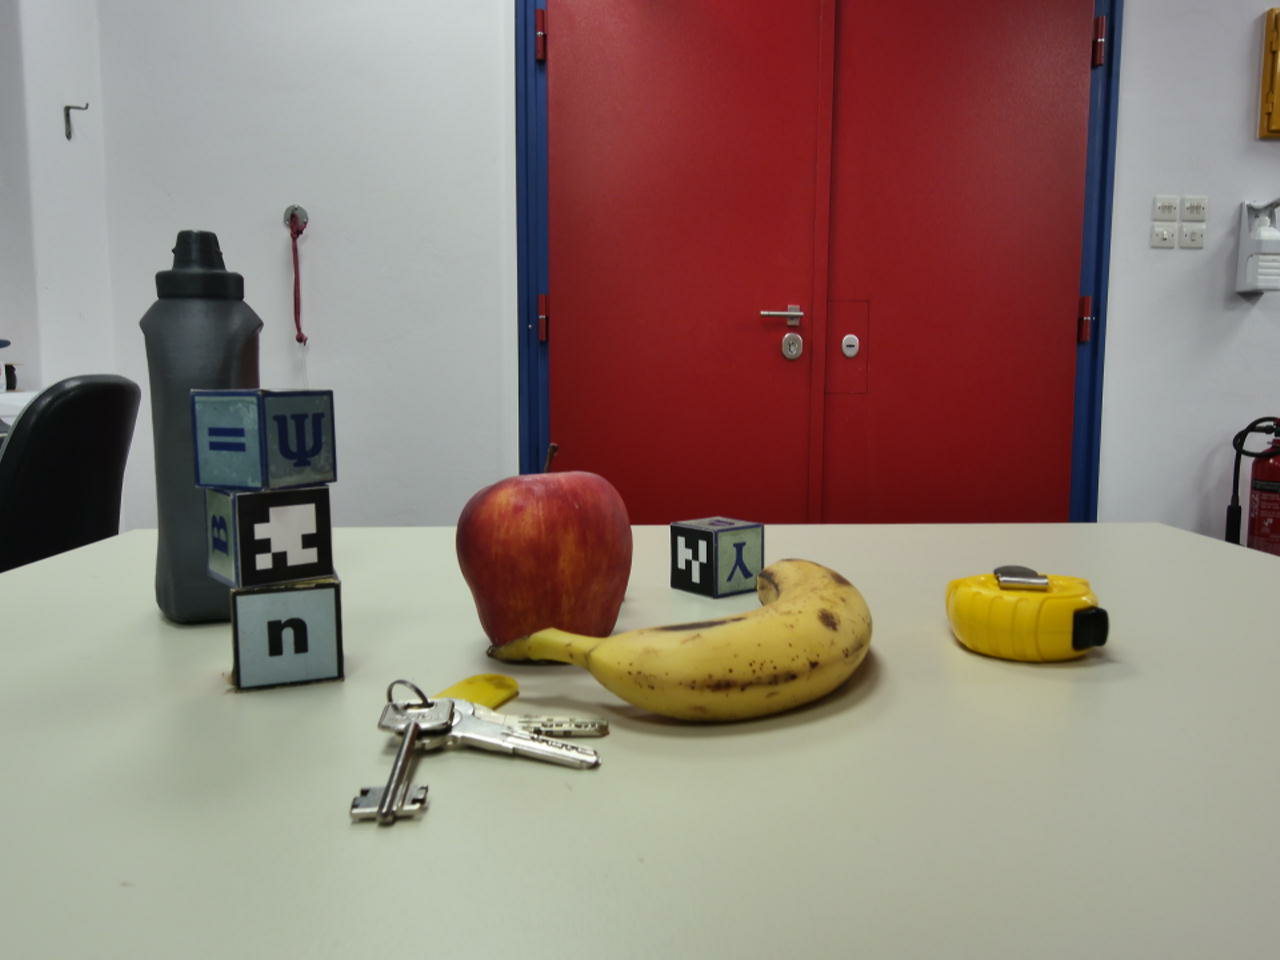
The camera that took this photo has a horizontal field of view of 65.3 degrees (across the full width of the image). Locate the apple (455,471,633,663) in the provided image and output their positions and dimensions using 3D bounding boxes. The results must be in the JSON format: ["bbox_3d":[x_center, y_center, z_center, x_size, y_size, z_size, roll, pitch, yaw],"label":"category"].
[{"bbox_3d":[-0.042,0.031,0.433,0.083,0.090,0.083,0,4,0],"label":"apple"}]
